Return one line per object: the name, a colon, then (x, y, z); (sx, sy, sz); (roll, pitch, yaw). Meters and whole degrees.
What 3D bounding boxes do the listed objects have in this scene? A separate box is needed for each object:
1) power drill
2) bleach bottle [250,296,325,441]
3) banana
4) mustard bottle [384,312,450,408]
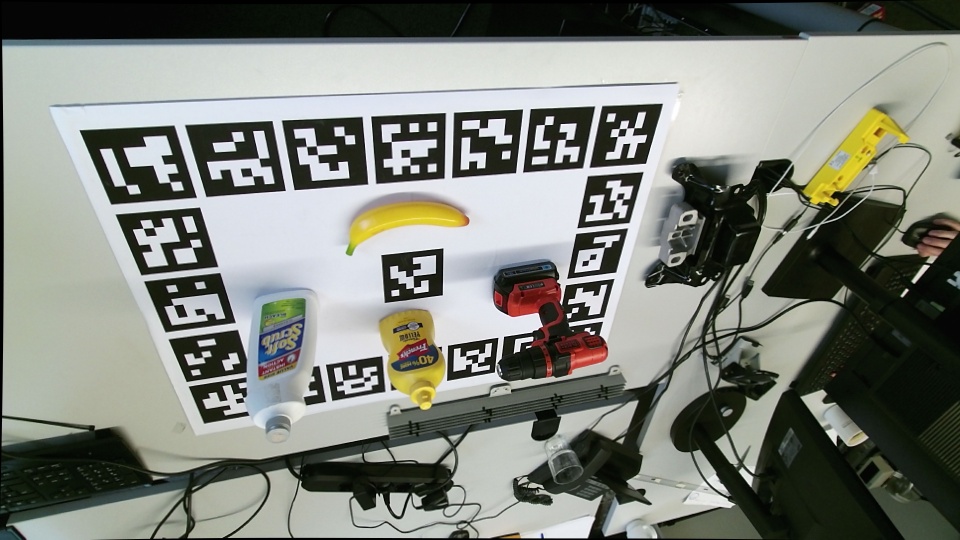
power drill: (0.092, 0.108, 0.882); (0.185, 0.186, 0.057); (-14, 128, -14)
bleach bottle: (-0.274, 0.137, 0.776); (0.103, 0.249, 0.068); (0, 124, -19)
banana: (-0.104, -0.061, 0.815); (0.198, 0.038, 0.074); (-13, 126, -14)
mustard bottle: (-0.101, 0.150, 0.886); (0.096, 0.190, 0.058); (-13, 127, -8)
